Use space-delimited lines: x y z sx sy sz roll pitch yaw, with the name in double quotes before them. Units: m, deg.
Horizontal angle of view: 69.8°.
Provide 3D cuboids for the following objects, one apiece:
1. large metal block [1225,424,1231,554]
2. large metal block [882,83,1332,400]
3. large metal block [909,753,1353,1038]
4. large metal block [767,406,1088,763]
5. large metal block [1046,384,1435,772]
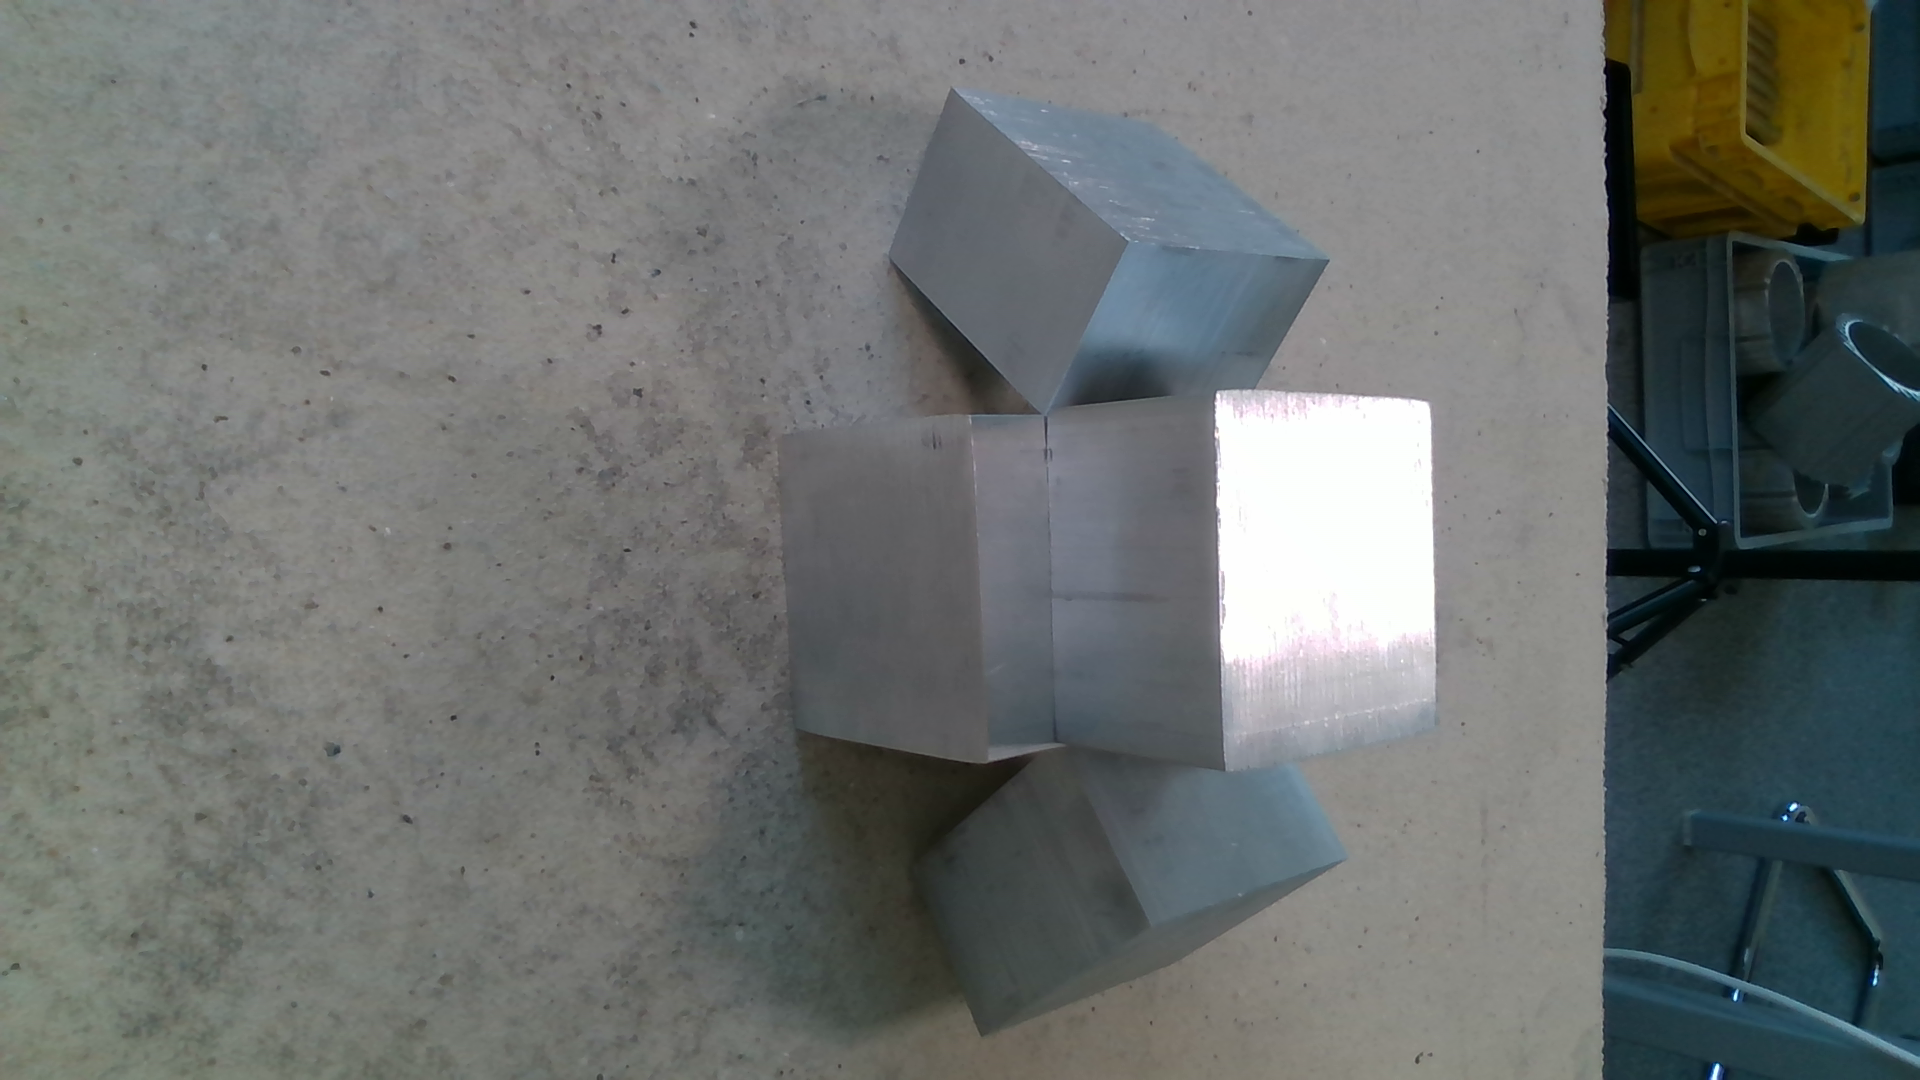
"large metal block" 0.066 0.005 0.412 0.050 0.080 0.080 -3 92 -40
"large metal block" 0.039 -0.078 0.379 0.080 0.080 0.050 -5 133 -41
"large metal block" 0.046 0.090 0.385 0.080 0.080 0.050 -5 58 -40
"large metal block" -0.004 0.009 0.354 0.050 0.080 0.080 -5 93 -40
"large metal block" 0.068 0.007 0.328 0.080 0.050 0.080 -3 92 -40
